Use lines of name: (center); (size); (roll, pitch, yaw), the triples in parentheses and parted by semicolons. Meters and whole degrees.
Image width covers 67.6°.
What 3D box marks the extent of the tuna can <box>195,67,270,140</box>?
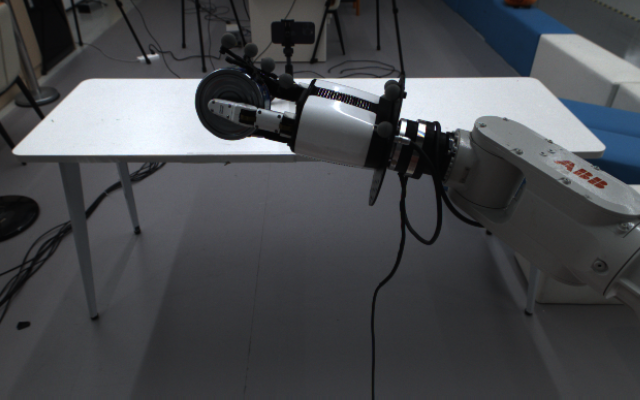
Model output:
tuna can: (-0.101, -0.110, 0.577); (0.085, 0.085, 0.034); (7, 19, 6)
